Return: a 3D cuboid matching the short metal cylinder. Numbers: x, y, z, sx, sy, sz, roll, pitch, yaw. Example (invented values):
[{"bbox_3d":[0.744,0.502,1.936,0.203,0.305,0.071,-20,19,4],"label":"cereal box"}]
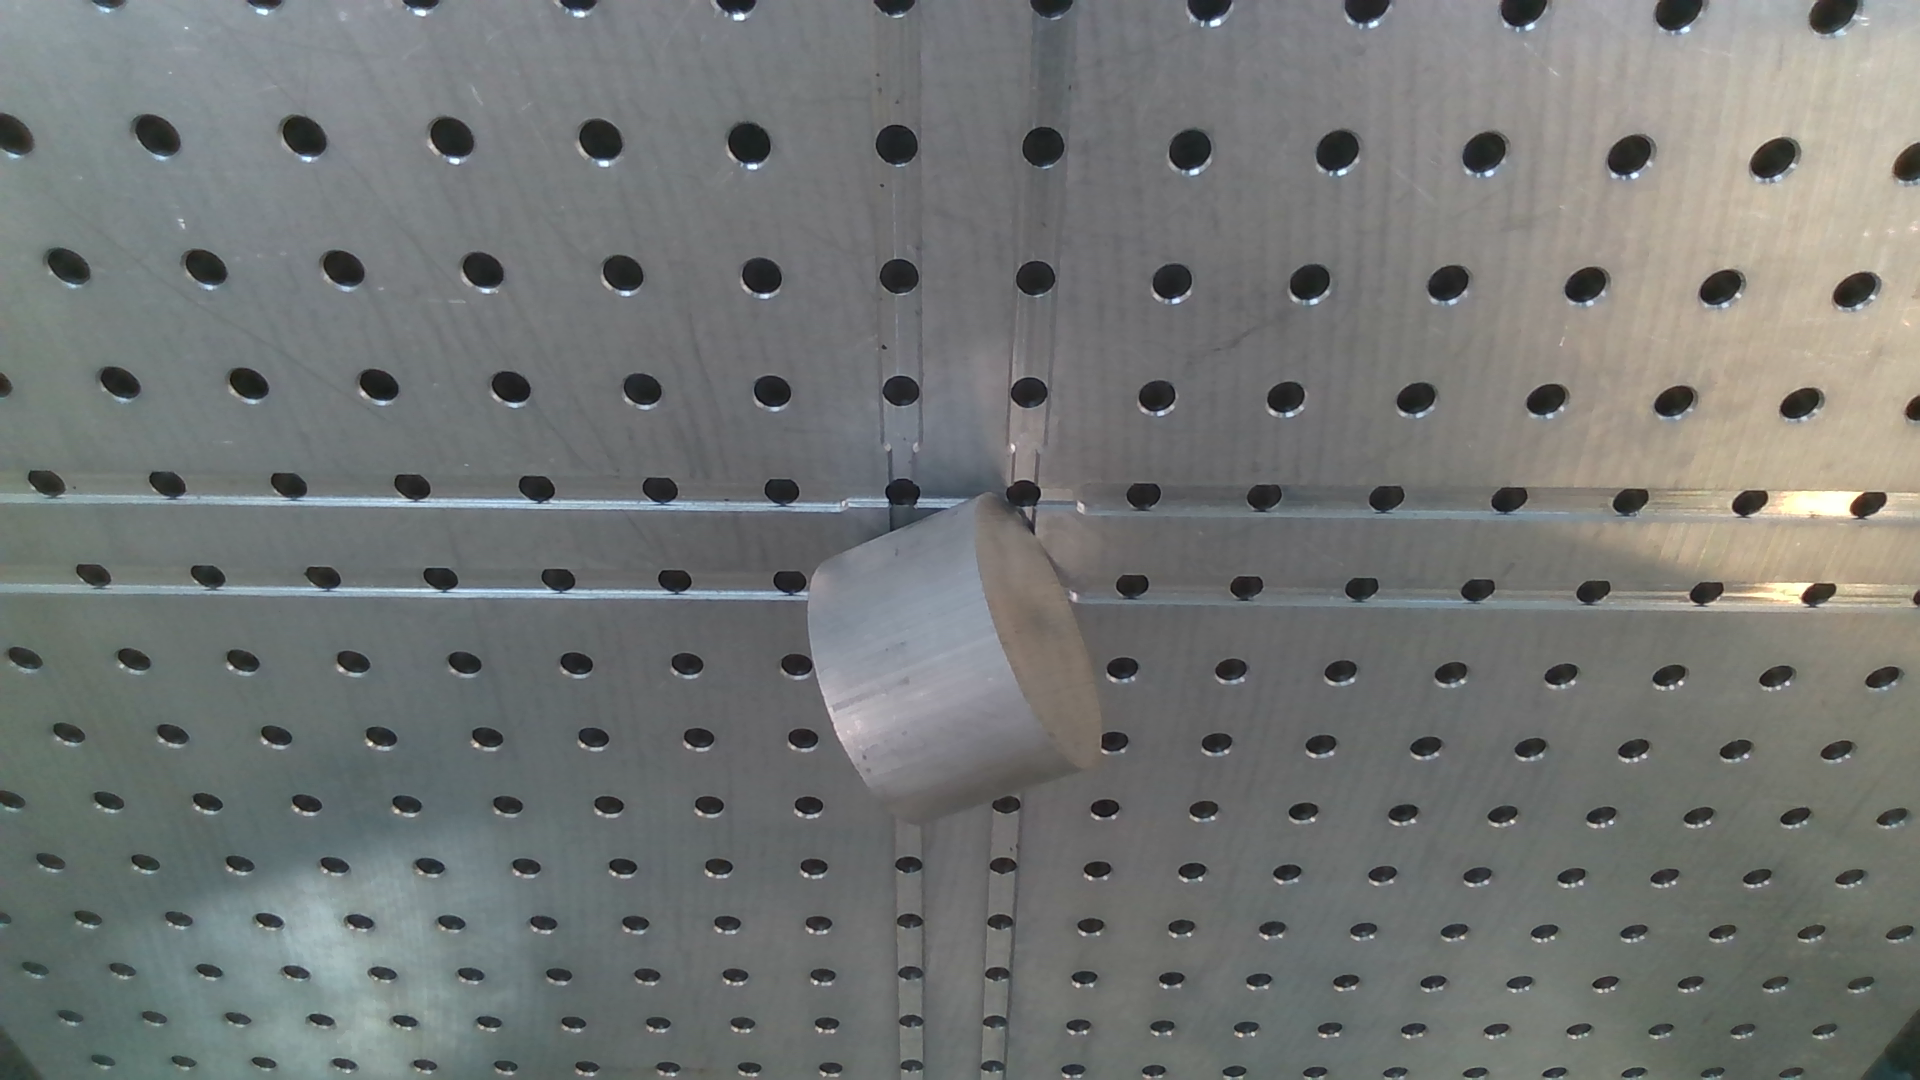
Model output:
[{"bbox_3d":[0.000,0.033,0.382,0.050,0.080,0.080,-23,126,17],"label":"short metal cylinder"}]
